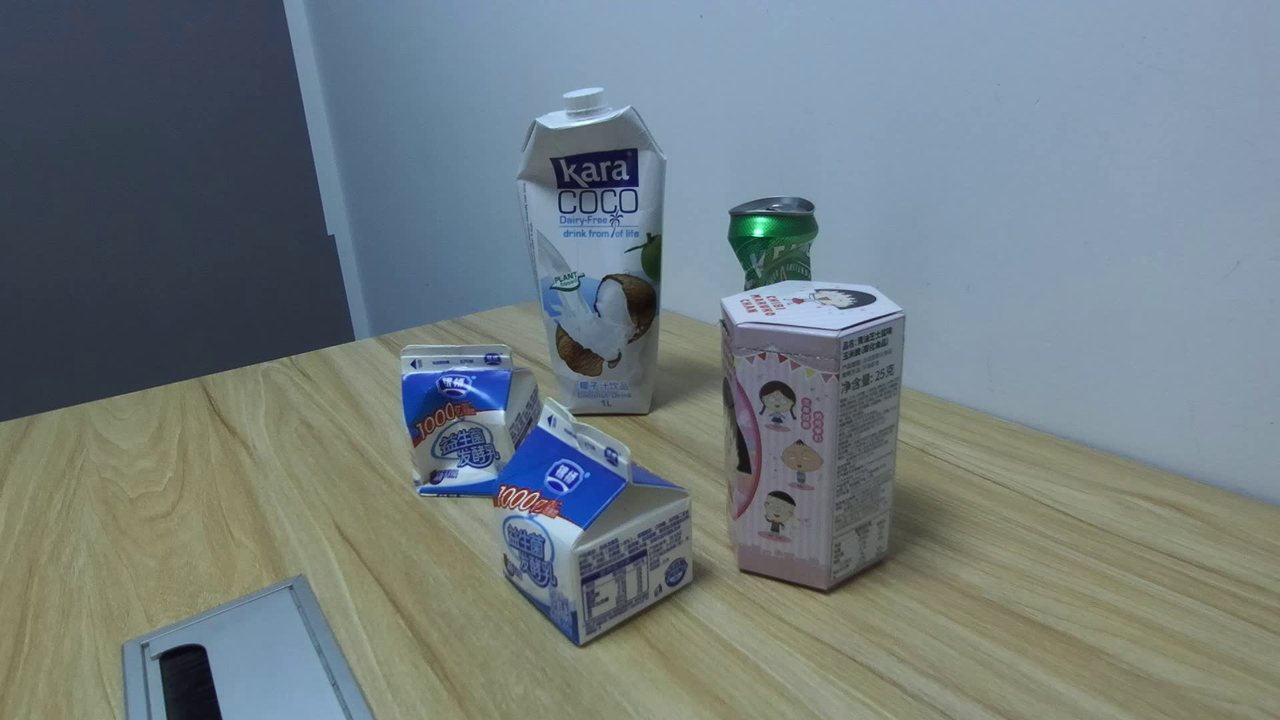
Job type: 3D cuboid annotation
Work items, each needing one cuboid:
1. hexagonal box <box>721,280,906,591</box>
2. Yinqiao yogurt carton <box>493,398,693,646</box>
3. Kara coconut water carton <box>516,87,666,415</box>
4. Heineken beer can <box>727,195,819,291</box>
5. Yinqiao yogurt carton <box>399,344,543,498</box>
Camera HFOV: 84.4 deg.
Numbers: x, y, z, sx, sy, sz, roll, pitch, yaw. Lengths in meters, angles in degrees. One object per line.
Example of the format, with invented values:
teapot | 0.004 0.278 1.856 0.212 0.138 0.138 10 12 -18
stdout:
hexagonal box | 0.084 0.036 0.360 0.084 0.136 0.091 -3 21 -2
Yinqiao yogurt carton | -0.024 0.071 0.349 0.074 0.092 0.075 -18 26 -35
Kara coconut water carton | -0.032 -0.076 0.532 0.115 0.238 0.069 -1 23 8
Heineken beer can | 0.096 -0.025 0.484 0.078 0.164 0.066 -14 22 -20
Yinqiao yogurt carton | -0.109 0.032 0.463 0.077 0.094 0.071 -1 26 8
